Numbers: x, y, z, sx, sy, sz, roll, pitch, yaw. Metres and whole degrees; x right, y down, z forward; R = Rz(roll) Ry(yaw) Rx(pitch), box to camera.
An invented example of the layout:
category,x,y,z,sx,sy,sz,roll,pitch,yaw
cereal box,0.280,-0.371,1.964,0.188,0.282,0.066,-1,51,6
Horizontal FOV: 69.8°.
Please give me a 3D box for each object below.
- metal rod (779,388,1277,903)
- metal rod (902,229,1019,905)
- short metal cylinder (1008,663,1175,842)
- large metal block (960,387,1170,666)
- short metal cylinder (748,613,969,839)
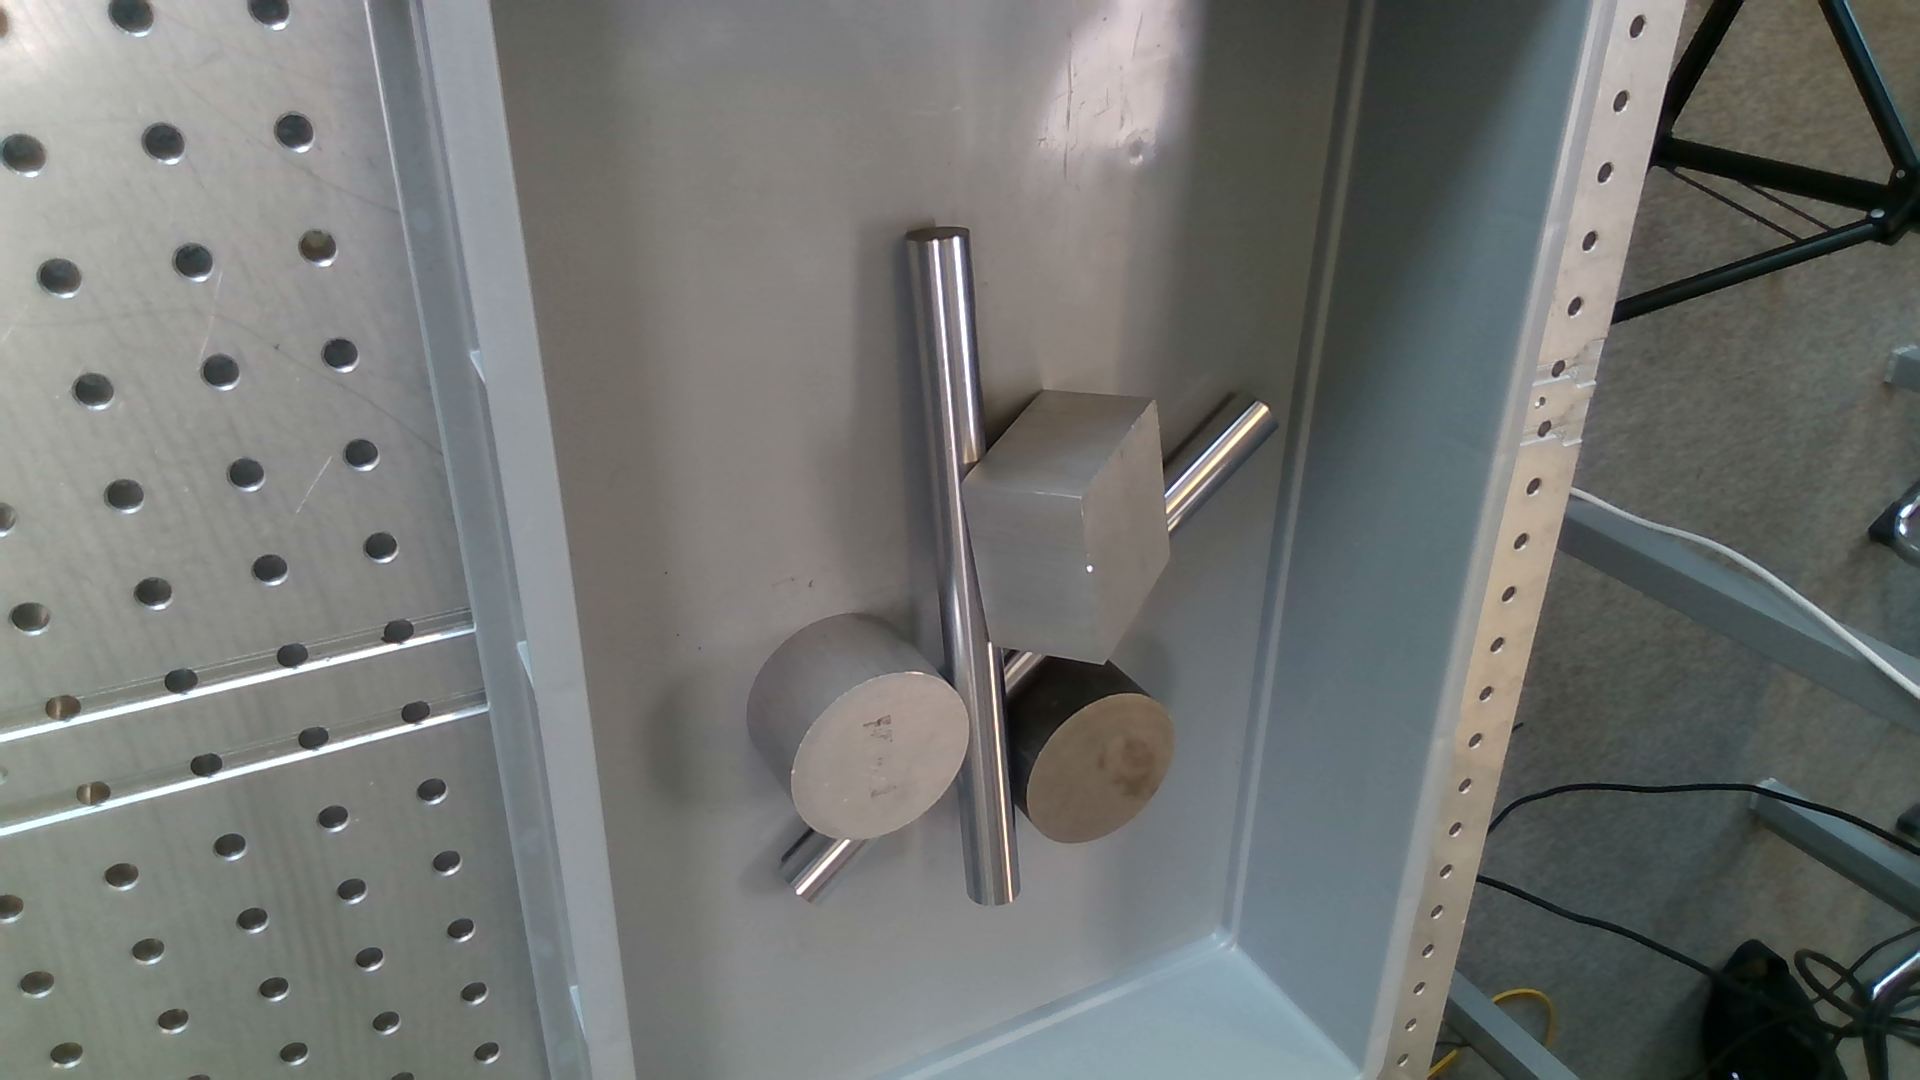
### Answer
category,x,y,z,sx,sy,sz,roll,pitch,yaw
metal rod,0.032,0.047,0.625,0.300,0.025,0.025,-46,129,-2
metal rod,0.003,0.023,0.573,0.025,0.025,0.301,-16,116,-24
short metal cylinder,0.053,0.094,0.648,0.080,0.050,0.080,-14,122,-25
large metal block,0.046,-0.008,0.565,0.080,0.050,0.080,-51,140,-46
short metal cylinder,-0.043,0.078,0.579,0.080,0.050,0.080,-14,122,-25
